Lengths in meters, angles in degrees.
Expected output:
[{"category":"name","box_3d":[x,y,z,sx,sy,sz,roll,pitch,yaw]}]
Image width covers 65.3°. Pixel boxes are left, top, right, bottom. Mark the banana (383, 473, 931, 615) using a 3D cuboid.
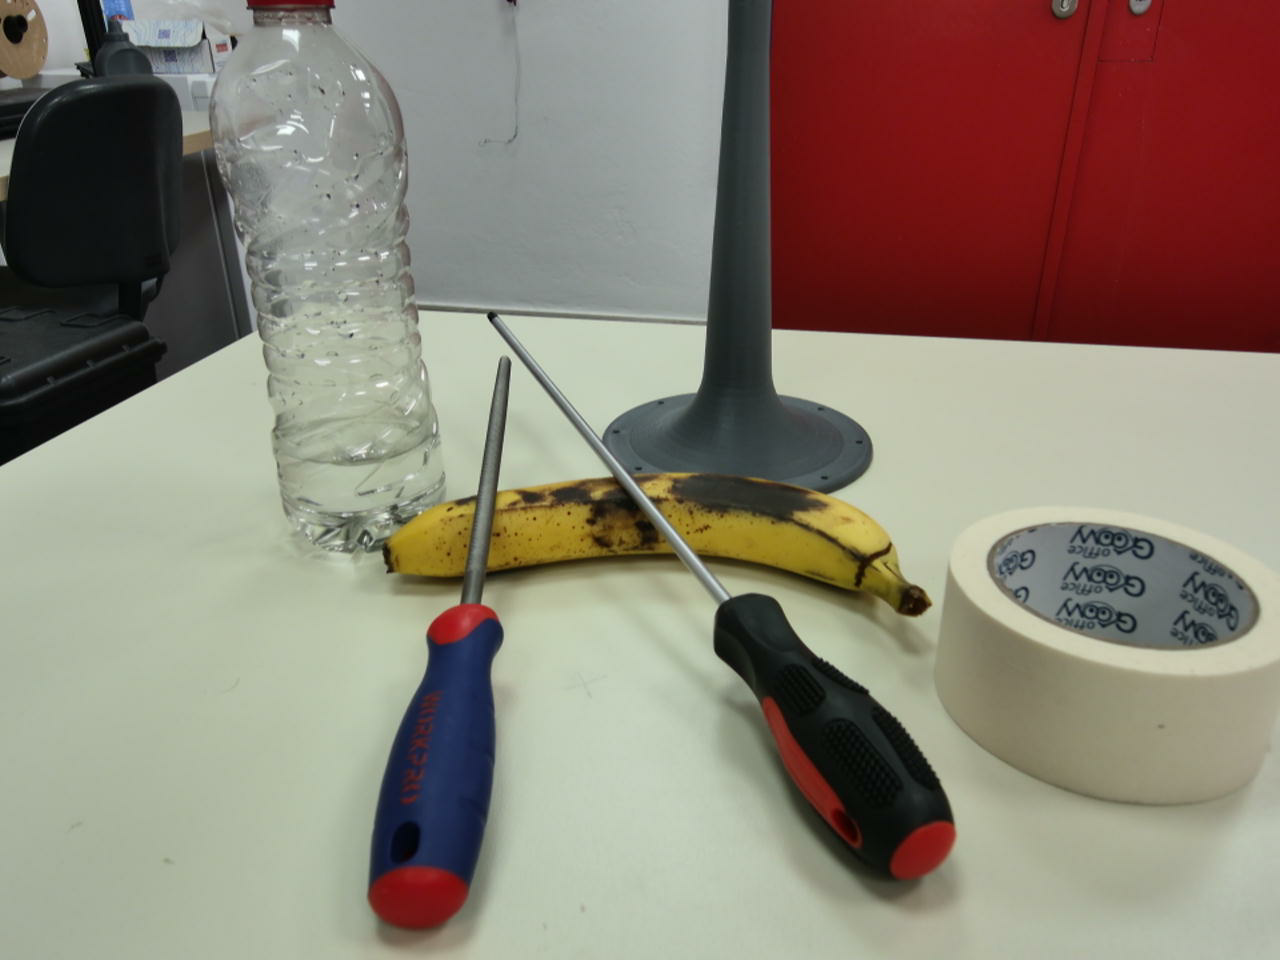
[{"category":"banana","box_3d":[0.008,0.023,0.427,0.222,0.037,0.084,5,24,12]}]
